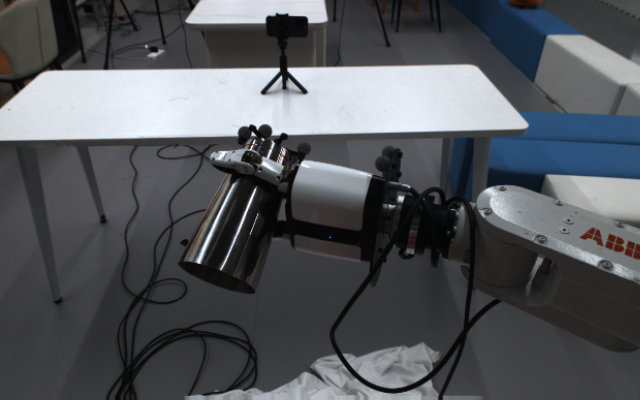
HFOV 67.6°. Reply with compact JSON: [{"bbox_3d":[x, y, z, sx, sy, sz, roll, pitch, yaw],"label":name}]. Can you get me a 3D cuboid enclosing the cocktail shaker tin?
[{"bbox_3d":[-0.086,0.011,0.571,0.093,0.093,0.170,12,65,14],"label":"cocktail shaker tin"}]
